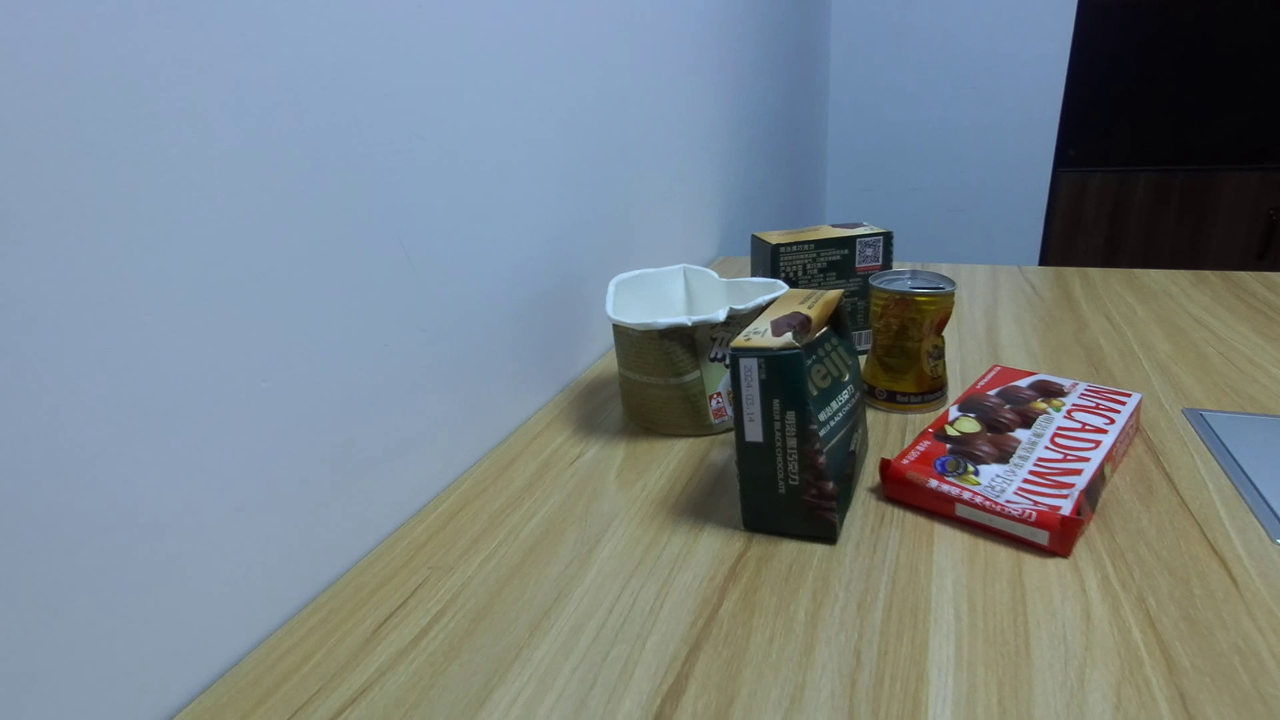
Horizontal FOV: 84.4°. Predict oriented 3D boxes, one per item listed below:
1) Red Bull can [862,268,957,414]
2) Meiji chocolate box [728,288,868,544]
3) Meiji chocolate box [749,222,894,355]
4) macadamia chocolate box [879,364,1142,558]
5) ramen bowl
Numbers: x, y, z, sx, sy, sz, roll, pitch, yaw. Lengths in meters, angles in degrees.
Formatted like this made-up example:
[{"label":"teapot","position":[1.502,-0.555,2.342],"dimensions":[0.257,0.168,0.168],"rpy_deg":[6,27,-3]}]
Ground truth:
[{"label":"Red Bull can","position":[0.196,-0.015,0.518],"dimensions":[0.072,0.092,0.072],"rpy_deg":[-2,22,1]},{"label":"Meiji chocolate box","position":[0.094,0.025,0.407],"dimensions":[0.051,0.117,0.117],"rpy_deg":[-2,19,28]},{"label":"Meiji chocolate box","position":[0.157,-0.058,0.614],"dimensions":[0.113,0.111,0.058],"rpy_deg":[-7,19,-9]},{"label":"macadamia chocolate box","position":[0.234,0.052,0.437],"dimensions":[0.105,0.028,0.184],"rpy_deg":[15,29,40]},{"label":"ramen bowl","position":[0.031,-0.008,0.519],"dimensions":[0.113,0.097,0.134],"rpy_deg":[17,29,41]}]
